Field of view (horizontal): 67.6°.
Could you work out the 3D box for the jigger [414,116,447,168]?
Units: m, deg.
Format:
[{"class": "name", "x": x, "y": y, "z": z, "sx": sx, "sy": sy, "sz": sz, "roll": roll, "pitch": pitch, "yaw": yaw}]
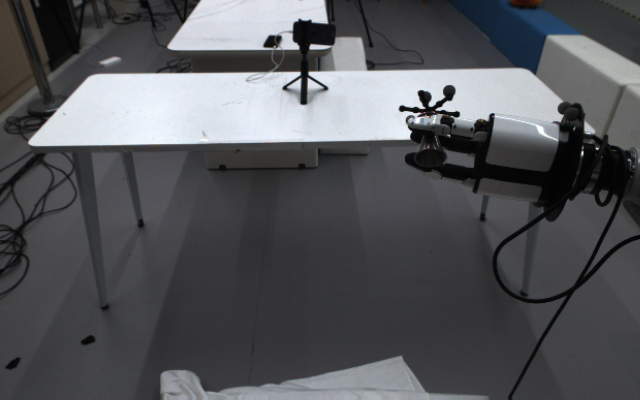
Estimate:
[{"class": "jigger", "x": 0.155, "y": -0.087, "z": 0.689, "sx": 0.043, "sy": 0.043, "sz": 0.071, "roll": 4, "pitch": 61, "yaw": 3}]
